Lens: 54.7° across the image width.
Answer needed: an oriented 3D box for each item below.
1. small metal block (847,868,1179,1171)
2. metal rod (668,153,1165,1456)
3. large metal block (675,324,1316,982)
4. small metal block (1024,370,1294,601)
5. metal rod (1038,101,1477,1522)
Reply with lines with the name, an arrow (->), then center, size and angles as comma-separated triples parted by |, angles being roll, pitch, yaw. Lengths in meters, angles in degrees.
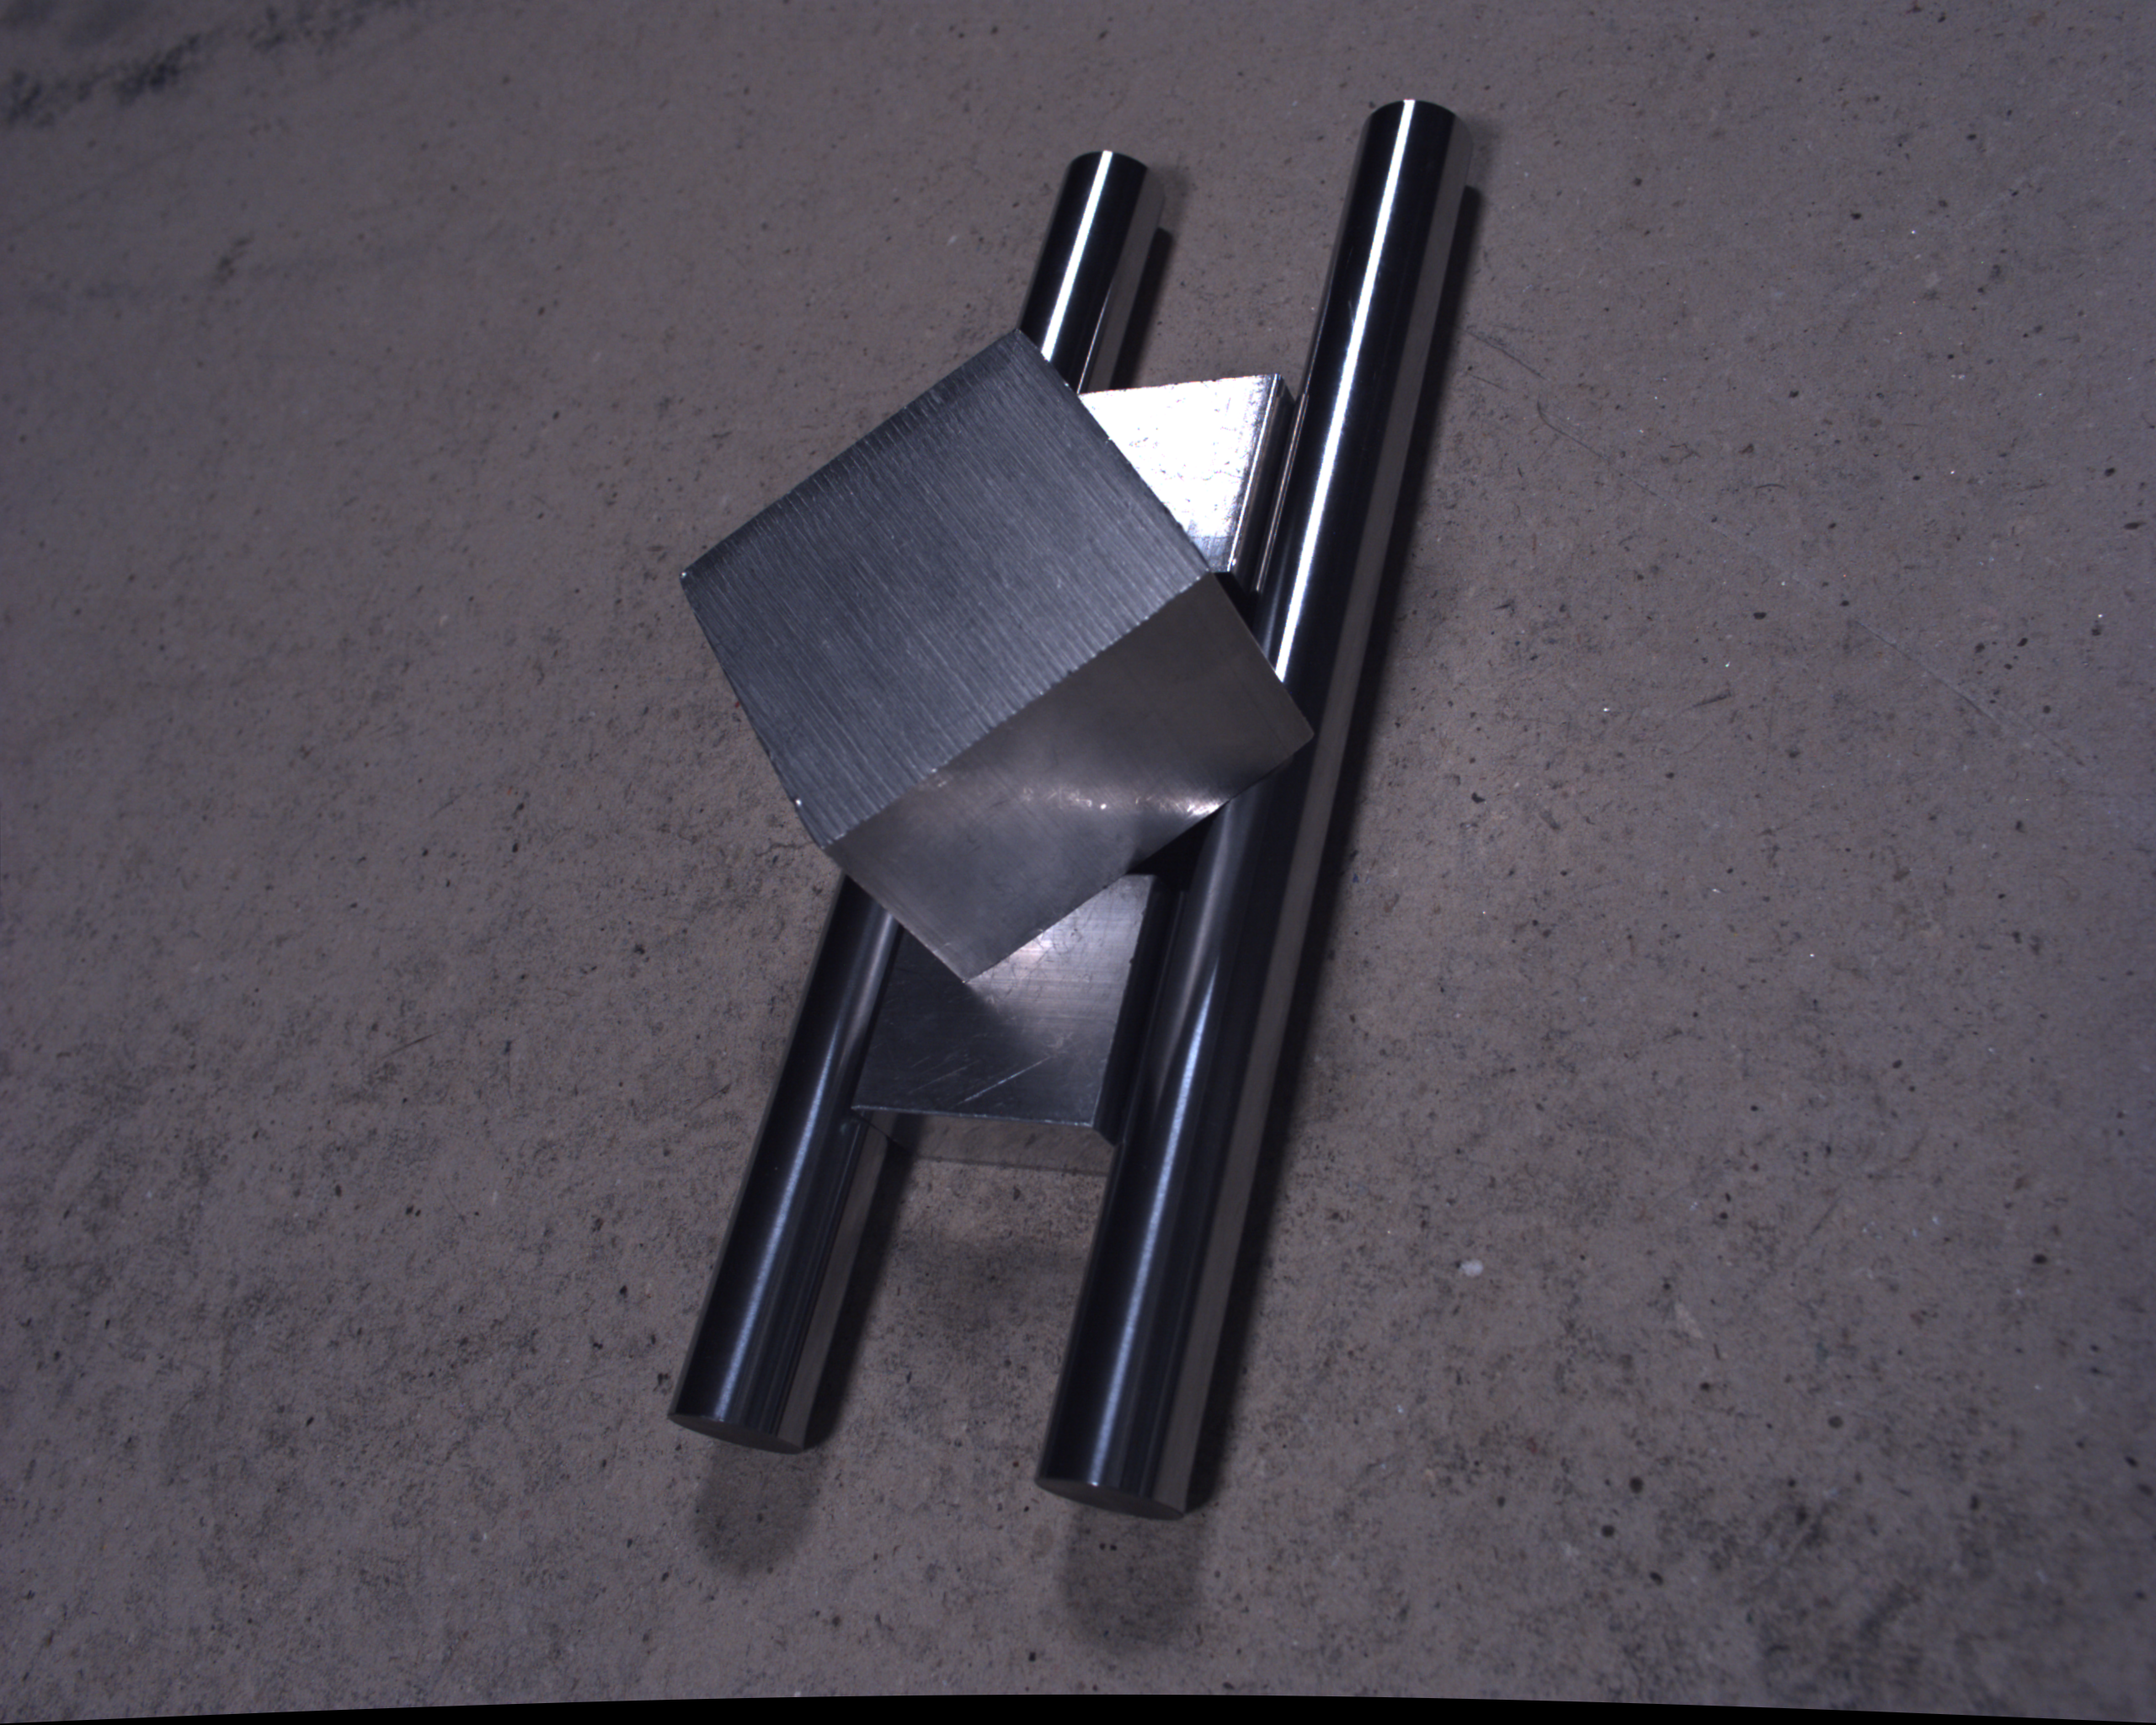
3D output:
small metal block -> -0.009, 0.029, 0.390 | 0.050, 0.025, 0.050 | 1, 62, 28
metal rod -> -0.026, -0.029, 0.436 | 0.025, 0.025, 0.300 | 1, 62, 28
large metal block -> -0.016, -0.039, 0.386 | 0.080, 0.050, 0.080 | -35, 52, 4
small metal block -> 0.018, -0.074, 0.438 | 0.050, 0.025, 0.050 | 1, 62, 28
metal rod -> 0.041, -0.028, 0.401 | 0.025, 0.025, 0.300 | 1, 62, 28
